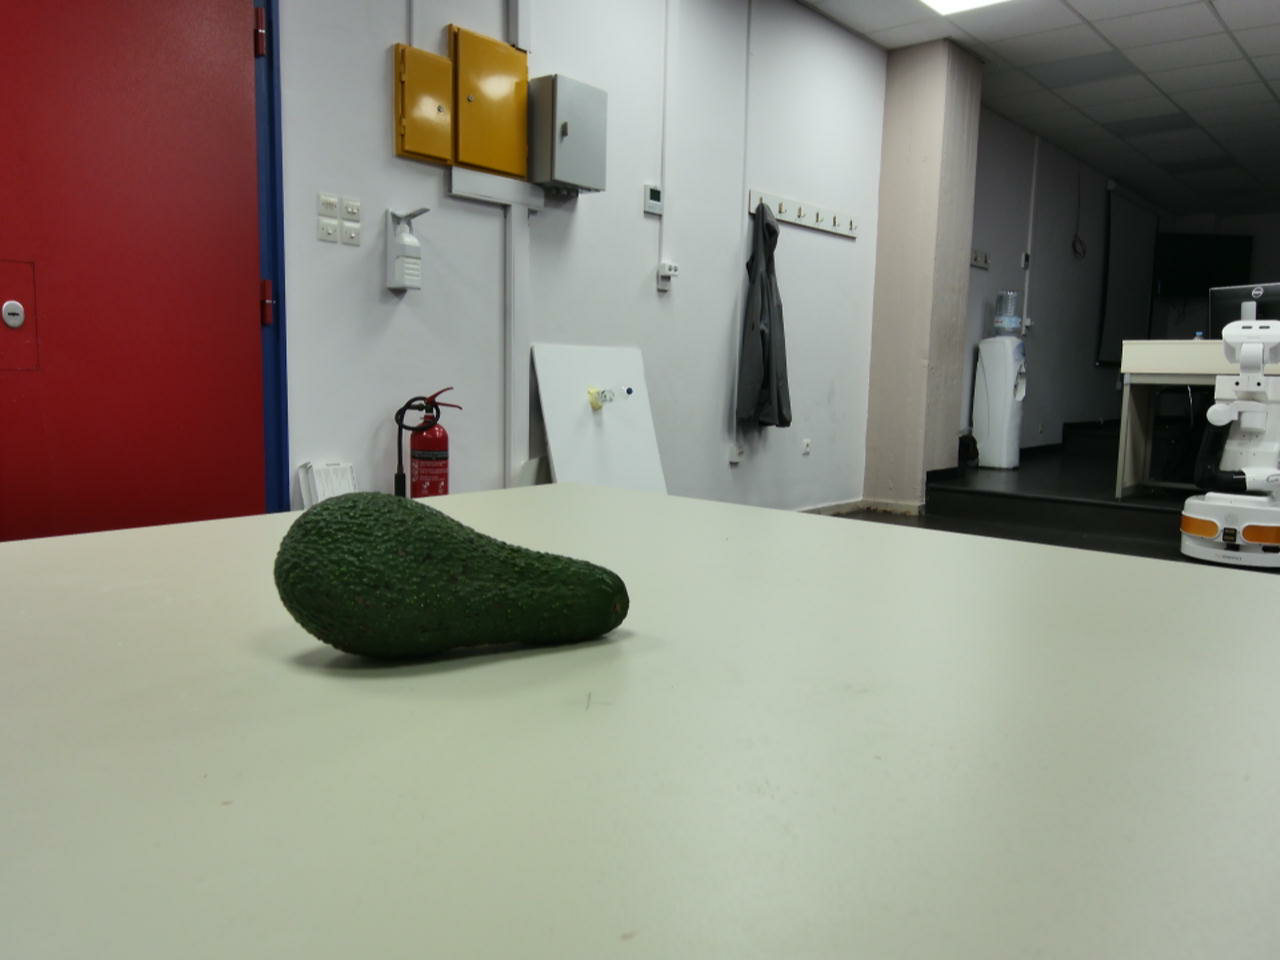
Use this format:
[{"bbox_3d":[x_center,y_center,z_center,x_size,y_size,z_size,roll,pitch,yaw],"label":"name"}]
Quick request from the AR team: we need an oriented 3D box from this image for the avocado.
[{"bbox_3d":[-0.074,0.036,0.408,0.141,0.067,0.063,-3,5,-35],"label":"avocado"}]
